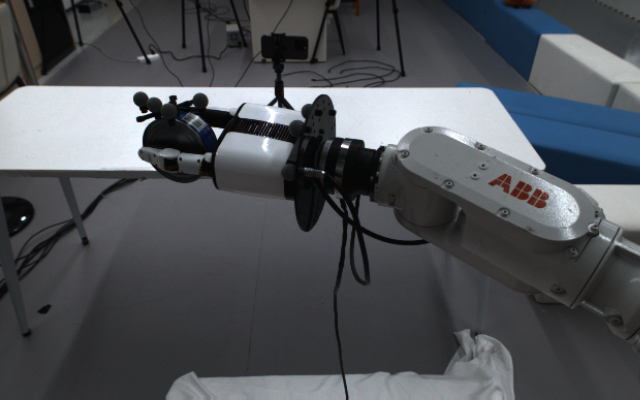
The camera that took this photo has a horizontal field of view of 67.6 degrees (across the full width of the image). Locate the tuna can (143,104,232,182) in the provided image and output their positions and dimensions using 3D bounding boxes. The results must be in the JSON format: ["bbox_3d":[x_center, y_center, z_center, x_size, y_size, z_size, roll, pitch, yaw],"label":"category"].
[{"bbox_3d":[-0.168,-0.066,0.590,0.085,0.085,0.034,11,33,13],"label":"tuna can"}]
